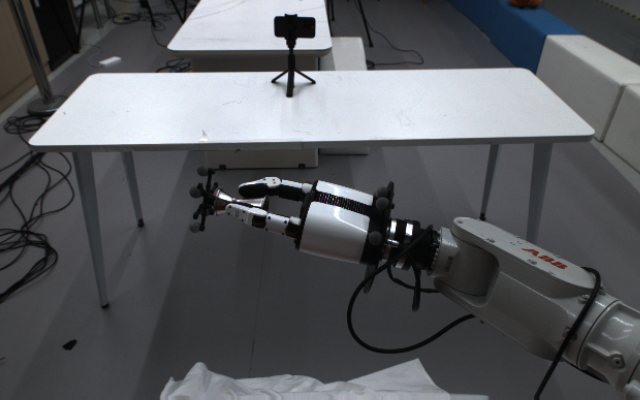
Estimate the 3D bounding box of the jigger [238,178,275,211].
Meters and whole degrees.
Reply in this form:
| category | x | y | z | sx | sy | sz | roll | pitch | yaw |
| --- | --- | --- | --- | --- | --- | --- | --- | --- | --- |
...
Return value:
| category | x | y | z | sx | sy | sz | roll | pitch | yaw |
| --- | --- | --- | --- | --- | --- | --- | --- | --- | --- |
| jigger | -0.103 | 0.006 | 0.678 | 0.071 | 0.043 | 0.043 | 10 | 35 | 3 |
